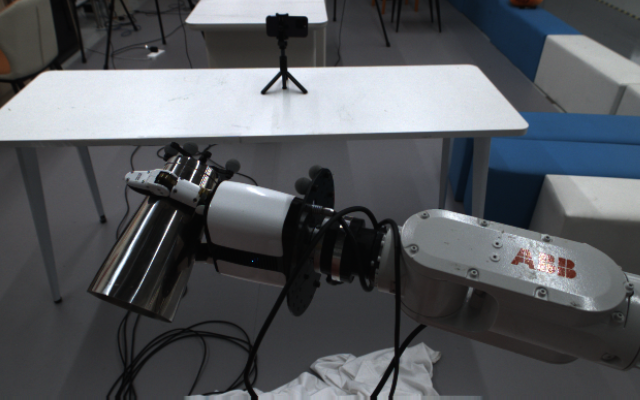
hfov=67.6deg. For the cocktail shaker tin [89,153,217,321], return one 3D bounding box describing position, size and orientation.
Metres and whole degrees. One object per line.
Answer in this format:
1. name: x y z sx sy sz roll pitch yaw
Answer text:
1. cocktail shaker tin: -0.170 0.037 0.537 0.093 0.093 0.170 12 65 15
